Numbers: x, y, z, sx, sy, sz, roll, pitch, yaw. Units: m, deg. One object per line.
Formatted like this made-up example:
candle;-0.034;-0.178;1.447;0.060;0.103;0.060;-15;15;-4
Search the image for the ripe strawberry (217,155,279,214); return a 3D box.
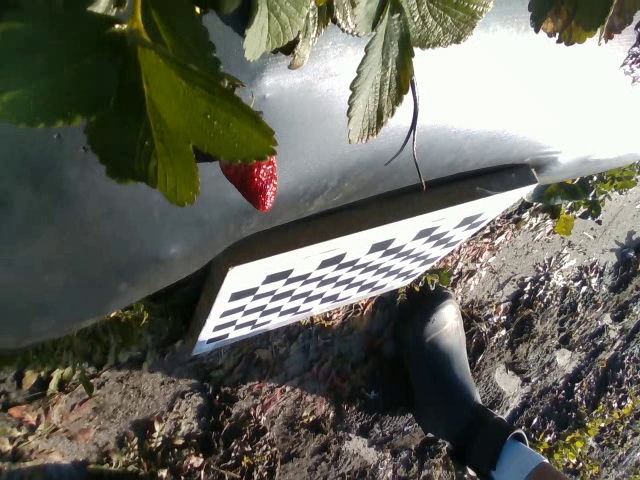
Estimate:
ripe strawberry;-0.029;-0.028;0.256;0.028;0.041;0.031;-22;17;1
